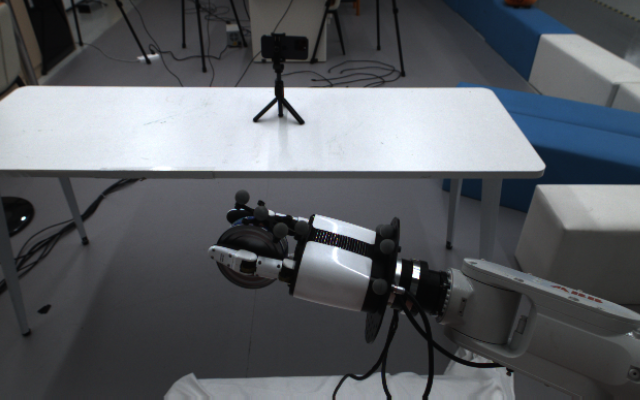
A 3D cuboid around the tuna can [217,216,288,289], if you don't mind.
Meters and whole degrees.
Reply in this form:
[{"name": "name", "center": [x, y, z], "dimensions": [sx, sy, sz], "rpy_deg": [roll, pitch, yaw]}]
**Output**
[{"name": "tuna can", "center": [-0.080, 0.064, 0.596], "dimensions": [0.085, 0.085, 0.034], "rpy_deg": [7, 17, 7]}]
